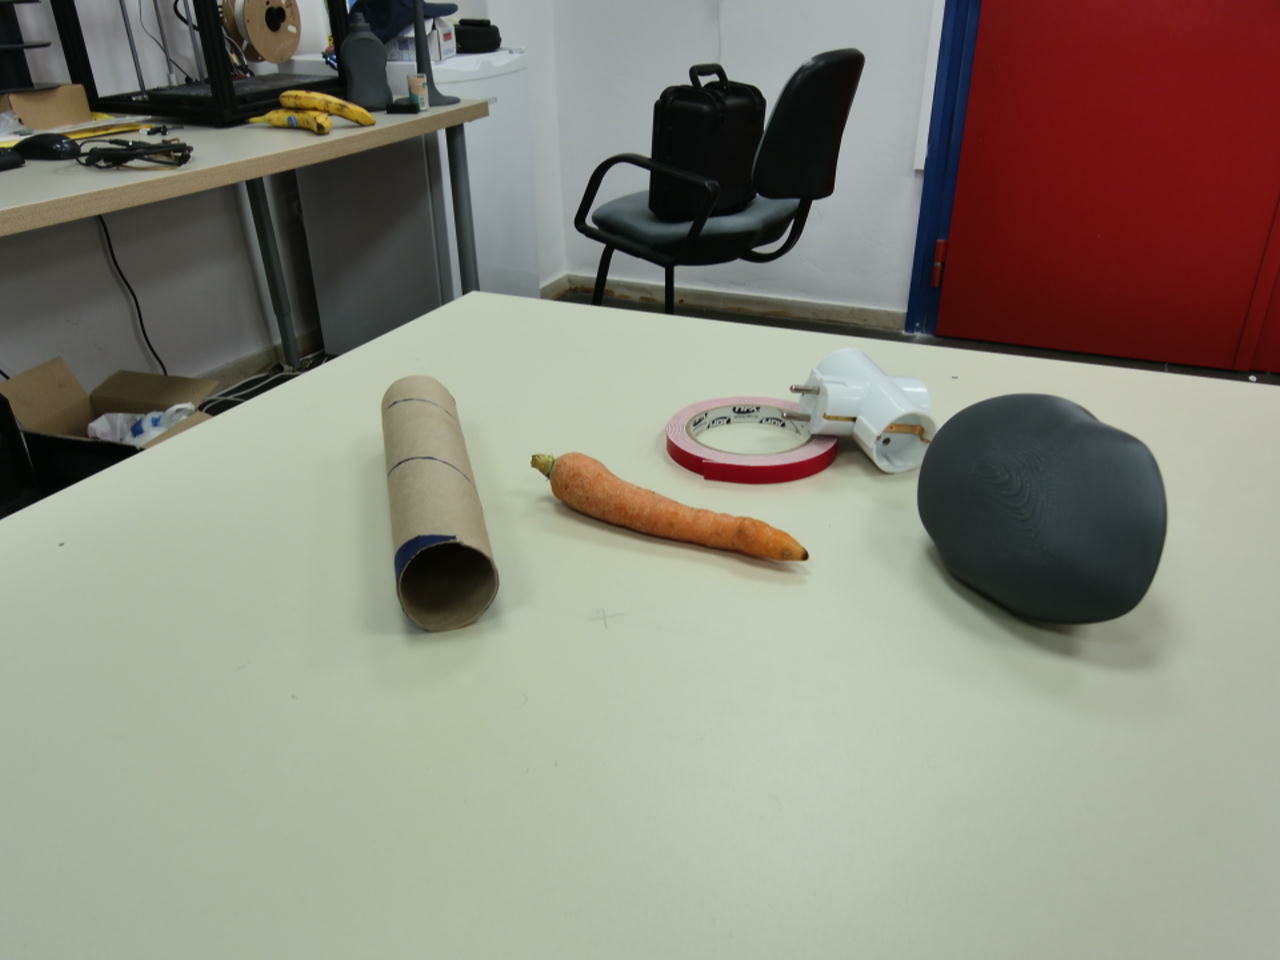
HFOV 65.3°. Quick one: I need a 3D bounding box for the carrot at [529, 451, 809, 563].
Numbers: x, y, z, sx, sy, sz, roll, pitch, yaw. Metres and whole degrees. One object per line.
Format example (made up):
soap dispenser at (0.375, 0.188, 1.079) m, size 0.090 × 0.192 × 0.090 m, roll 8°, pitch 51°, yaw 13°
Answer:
carrot at (0.011, 0.014, 0.541) m, size 0.173 × 0.032 × 0.030 m, roll 16°, pitch 29°, yaw 31°
